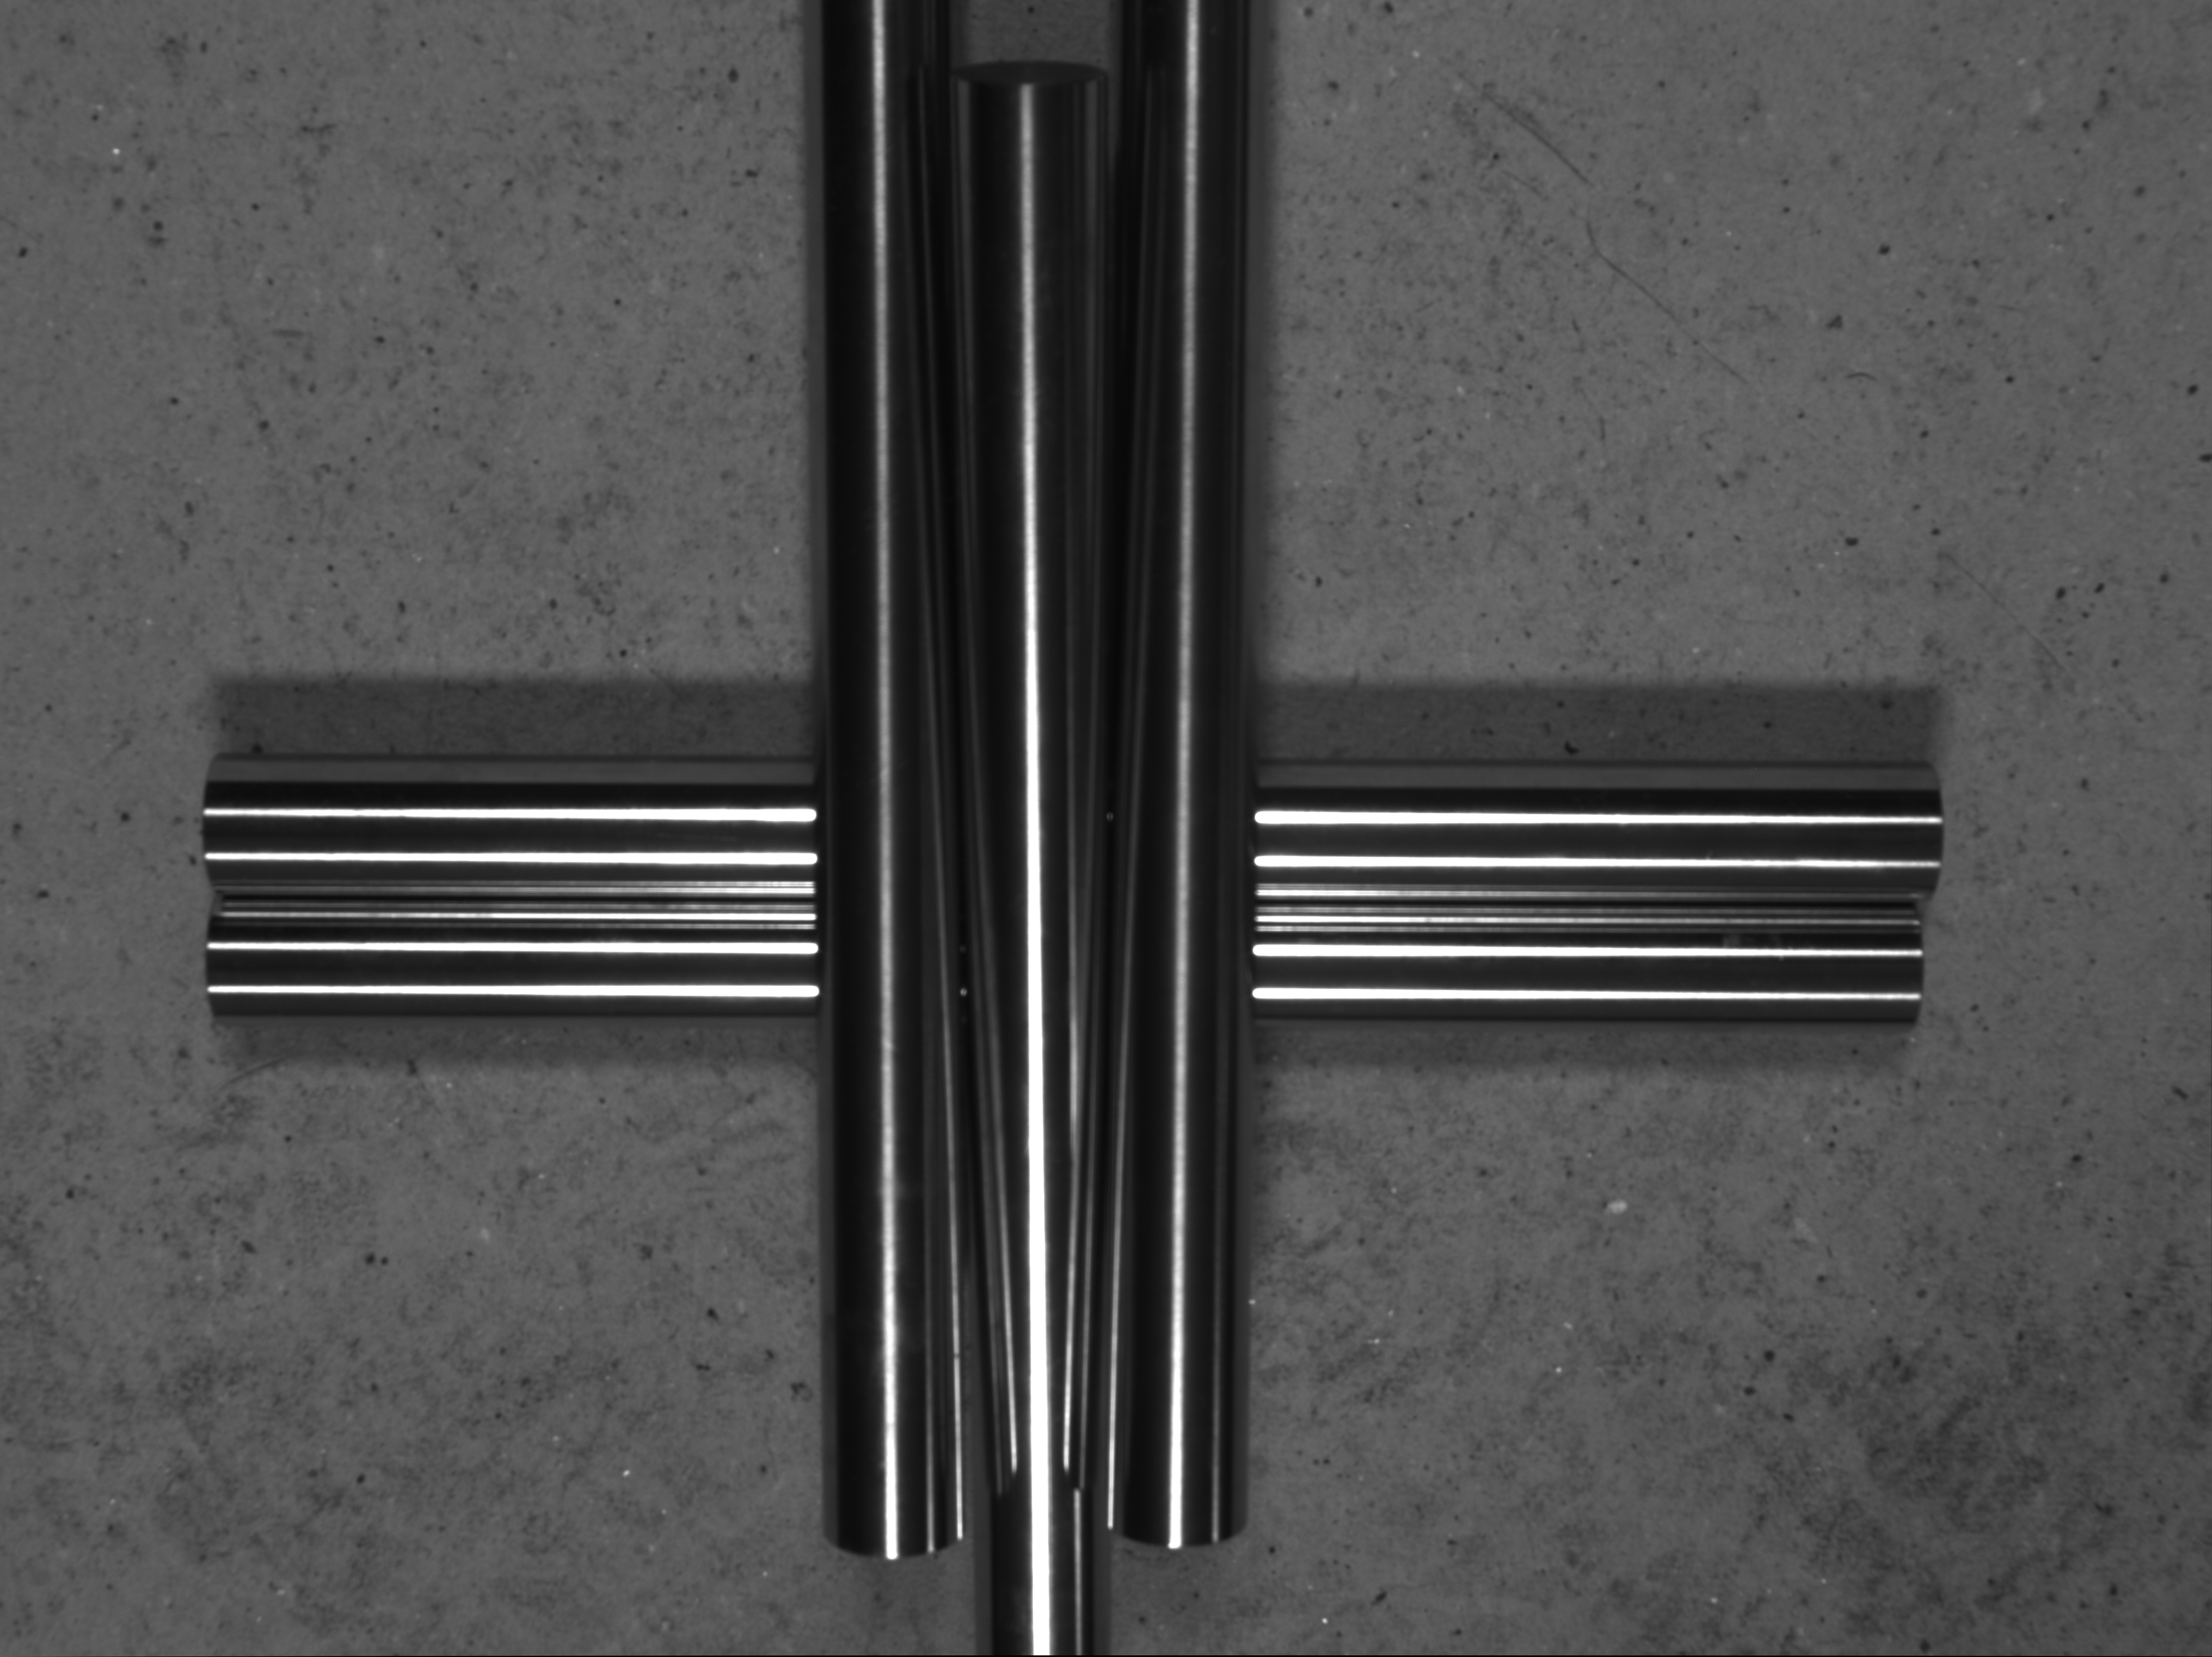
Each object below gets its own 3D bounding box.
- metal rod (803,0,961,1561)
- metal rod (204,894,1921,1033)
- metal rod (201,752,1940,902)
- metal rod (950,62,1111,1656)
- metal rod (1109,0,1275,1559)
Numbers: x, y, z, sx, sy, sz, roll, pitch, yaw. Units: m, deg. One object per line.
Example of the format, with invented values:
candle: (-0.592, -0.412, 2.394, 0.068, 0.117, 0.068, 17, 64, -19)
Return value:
metal rod: (-0.037, -0.023, 0.612, 0.025, 0.025, 0.300, 0, 102, -1)
metal rod: (-0.007, 0.023, 0.652, 0.300, 0.025, 0.025, 0, 110, -1)
metal rod: (-0.006, 0.000, 0.644, 0.300, 0.025, 0.025, 0, 110, -1)
metal rod: (-0.012, 0.023, 0.624, 0.025, 0.025, 0.300, 0, 110, 0)
metal rod: (0.014, -0.024, 0.612, 0.025, 0.025, 0.300, 0, 102, -1)
